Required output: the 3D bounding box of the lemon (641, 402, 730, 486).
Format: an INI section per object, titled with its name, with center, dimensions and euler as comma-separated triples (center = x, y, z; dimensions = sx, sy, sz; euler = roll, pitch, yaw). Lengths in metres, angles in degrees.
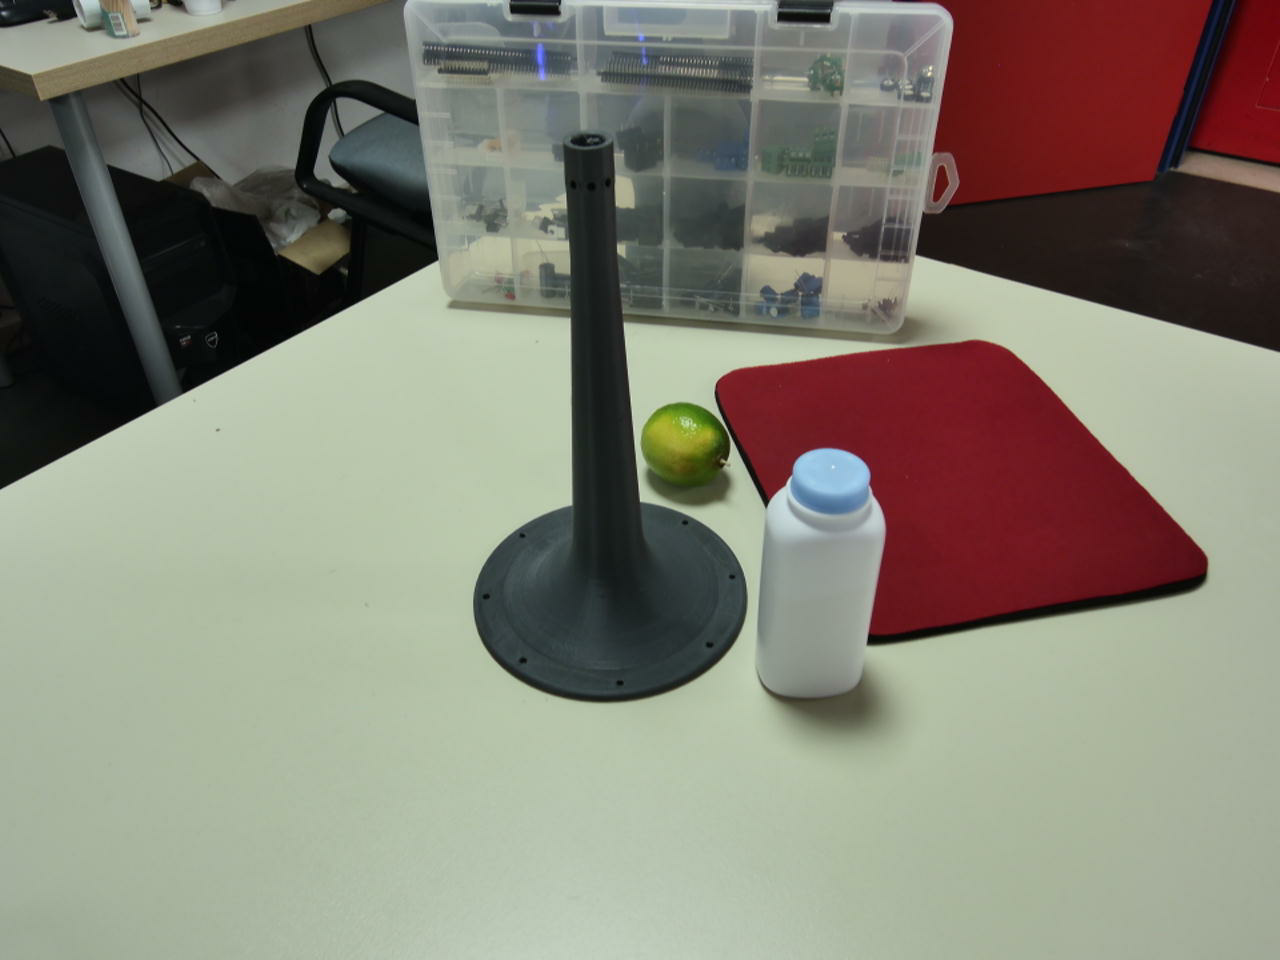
[lemon]
center = 0.028, -0.022, 0.619
dimensions = 0.054, 0.050, 0.055
euler = -1, 38, -2
